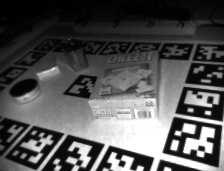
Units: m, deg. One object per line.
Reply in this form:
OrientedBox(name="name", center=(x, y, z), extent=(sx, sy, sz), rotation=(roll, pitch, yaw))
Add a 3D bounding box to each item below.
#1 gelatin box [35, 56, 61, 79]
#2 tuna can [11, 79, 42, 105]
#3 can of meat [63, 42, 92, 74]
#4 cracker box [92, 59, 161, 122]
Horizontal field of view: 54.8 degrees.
OrientedBox(name="gelatin box", center=(-0.237, -0.069, 0.794), extent=(0.074, 0.030, 0.088), rotation=(-20, 41, -14))
OrientedBox(name="tuna can", center=(-0.268, 0.020, 0.683), extent=(0.085, 0.034, 0.085), rotation=(-9, 40, 9))
OrientedBox(name="can of meat", center=(-0.121, -0.098, 0.766), extent=(0.058, 0.084, 0.100), rotation=(-30, 40, -21))
OrientedBox(name="cracker box", center=(0.050, 0.002, 0.598), extent=(0.163, 0.072, 0.213), rotation=(-2, 38, 12))
